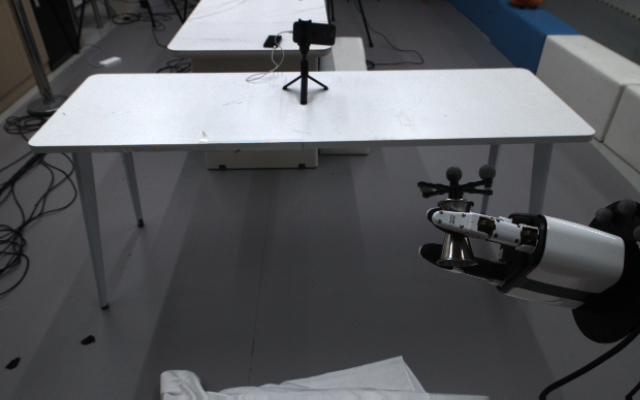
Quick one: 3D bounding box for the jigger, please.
[{"bbox_3d":[0.150,0.036,0.539,0.043,0.043,0.071,3,75,1],"label":"jigger"}]
